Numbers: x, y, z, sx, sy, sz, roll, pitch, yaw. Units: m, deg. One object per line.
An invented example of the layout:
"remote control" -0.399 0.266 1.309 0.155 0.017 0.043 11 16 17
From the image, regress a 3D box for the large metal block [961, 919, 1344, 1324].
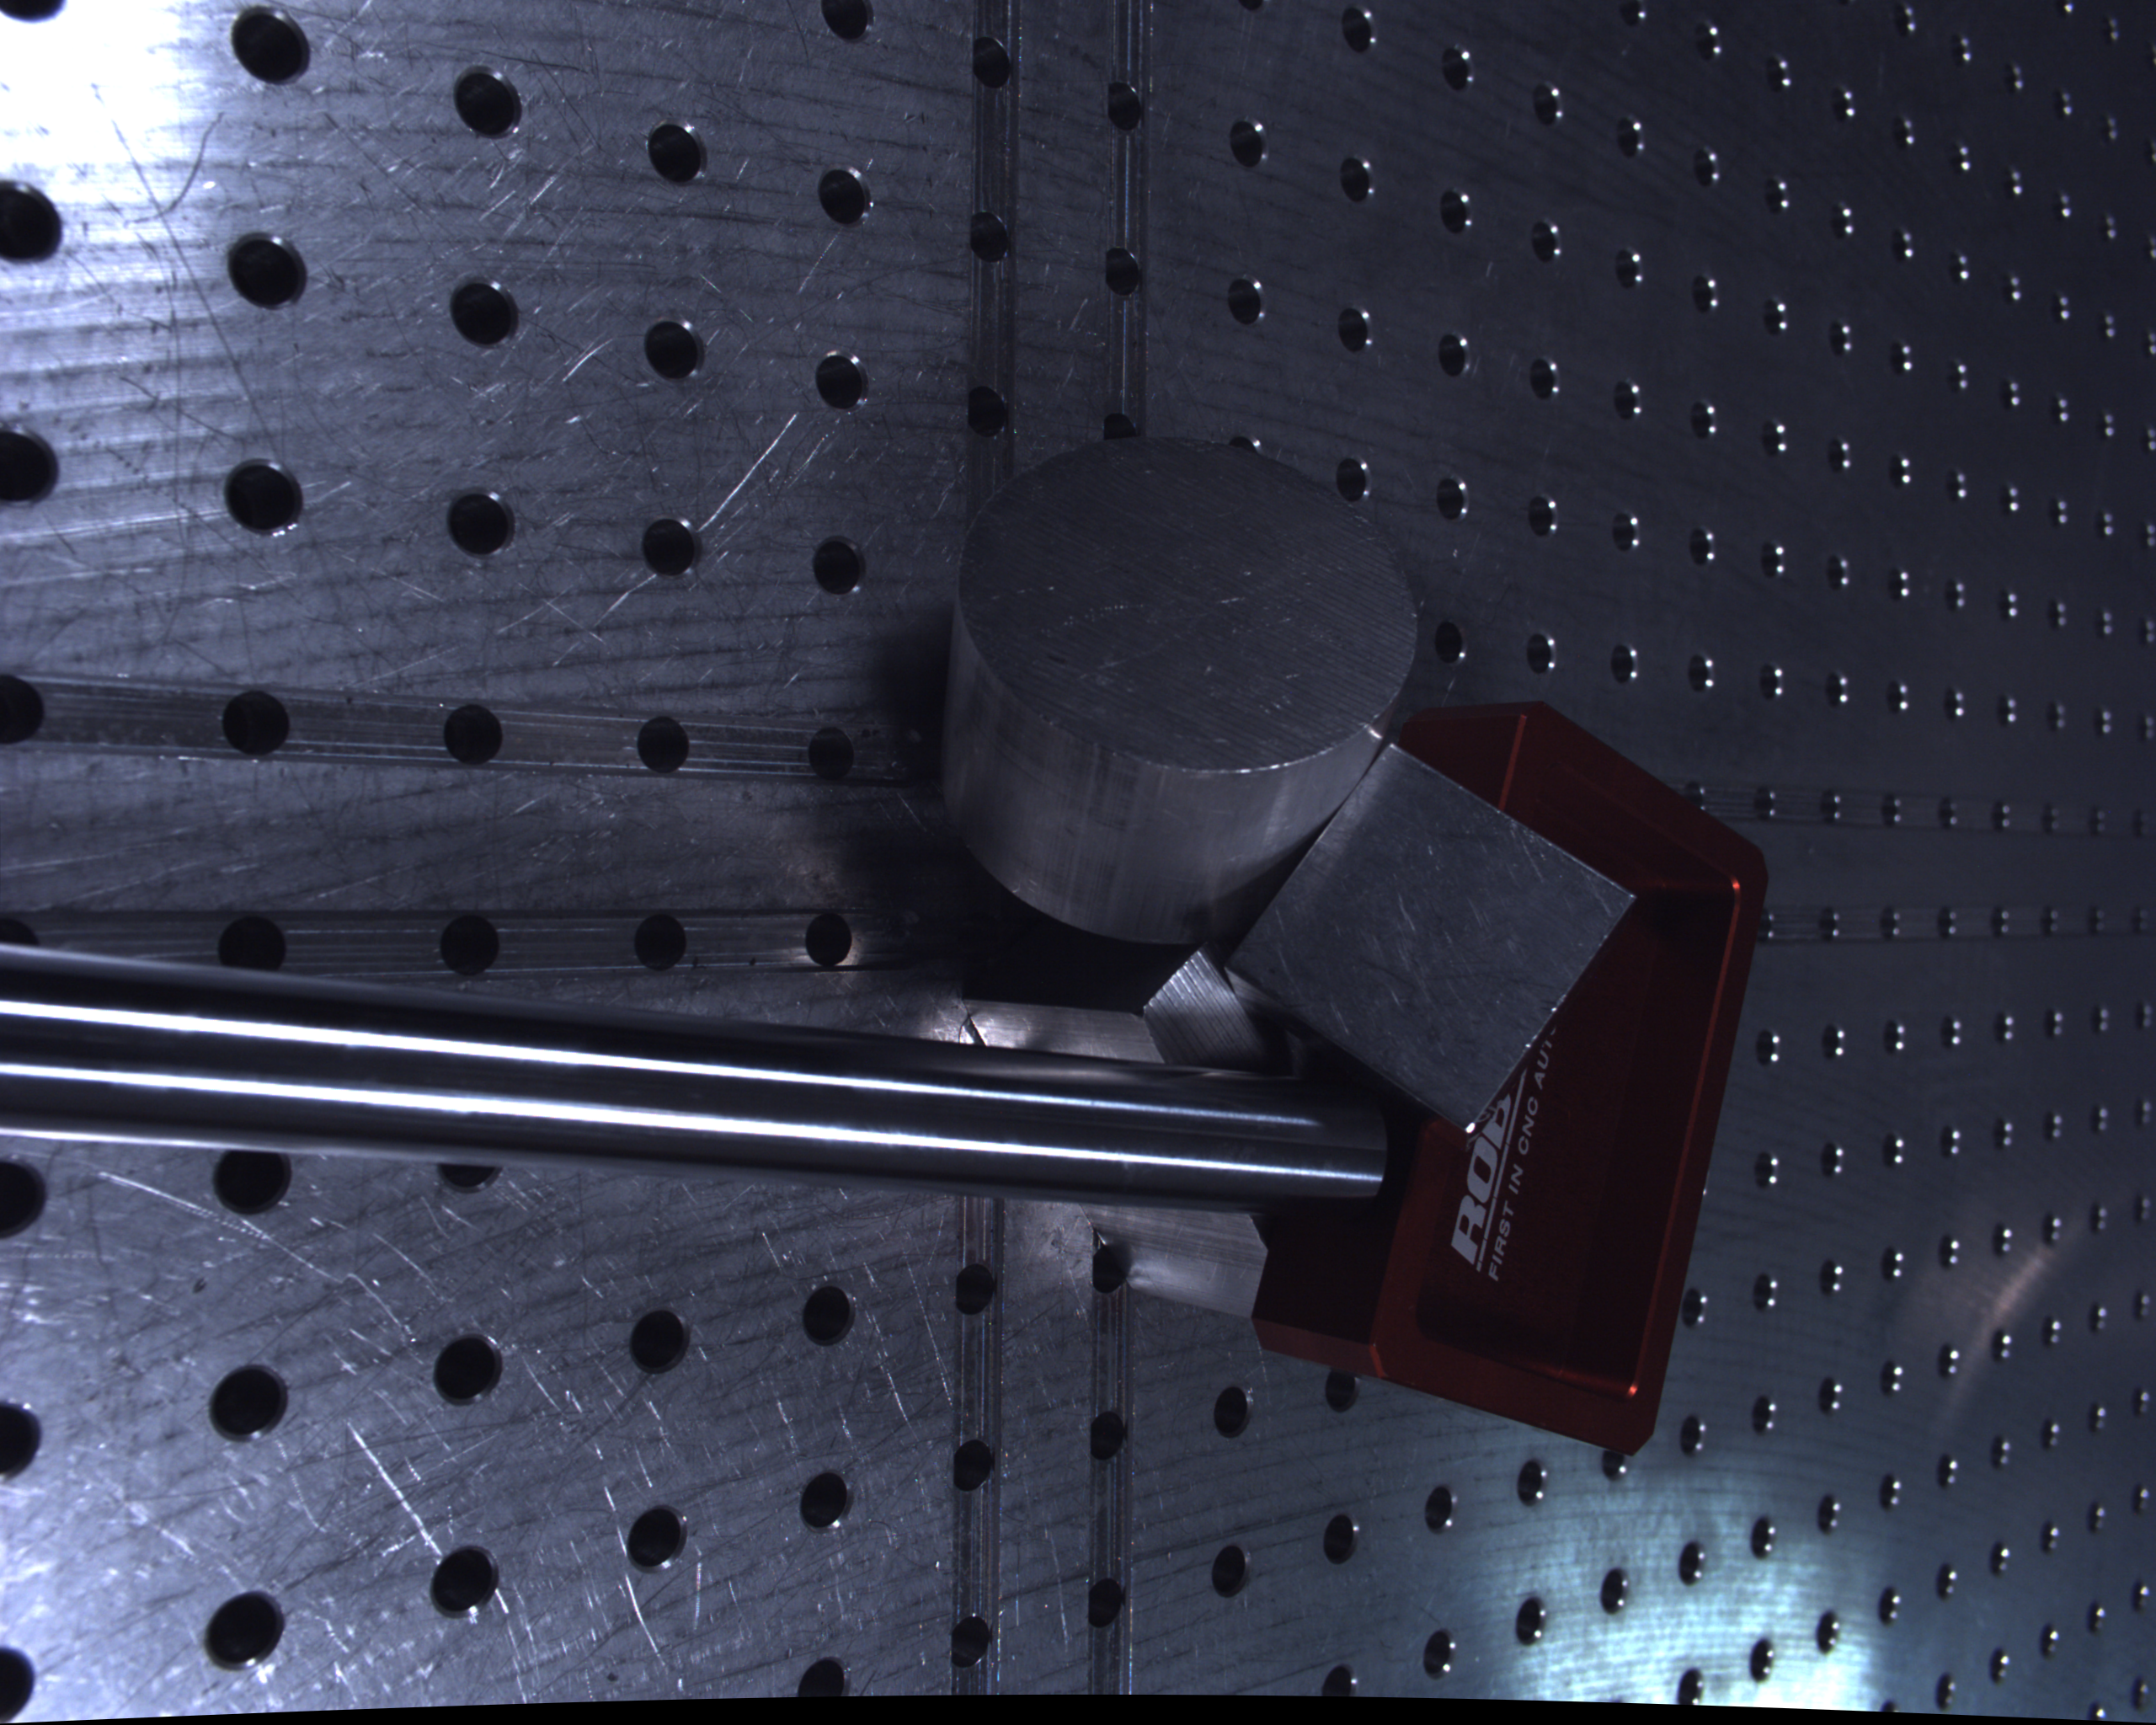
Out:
"large metal block" 0.036 0.035 0.424 0.080 0.050 0.080 -43 116 -32

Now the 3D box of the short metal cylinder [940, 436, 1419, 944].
"short metal cylinder" 0.017 -0.032 0.381 0.080 0.080 0.050 -42 159 -32

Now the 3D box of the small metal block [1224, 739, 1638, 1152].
"small metal block" 0.062 0.015 0.369 0.050 0.050 0.025 -53 163 -7

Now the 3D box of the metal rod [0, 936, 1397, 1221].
"metal rod" -0.081 0.031 0.304 0.302 0.025 0.025 9 84 -29

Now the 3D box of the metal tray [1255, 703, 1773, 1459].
"metal tray" 0.090 0.044 0.415 0.090 0.030 0.130 26 73 -37
